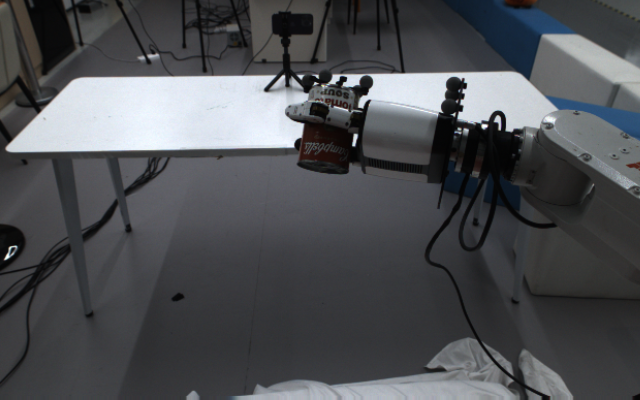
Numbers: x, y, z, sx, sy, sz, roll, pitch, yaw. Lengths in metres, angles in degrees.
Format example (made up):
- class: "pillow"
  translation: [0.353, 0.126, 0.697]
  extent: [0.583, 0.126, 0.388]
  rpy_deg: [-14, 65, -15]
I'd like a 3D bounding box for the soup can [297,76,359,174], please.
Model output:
- class: "soup can"
  translation: [0.012, -0.090, 0.622]
  extent: [0.067, 0.101, 0.067]
  rpy_deg: [9, -6, 1]
